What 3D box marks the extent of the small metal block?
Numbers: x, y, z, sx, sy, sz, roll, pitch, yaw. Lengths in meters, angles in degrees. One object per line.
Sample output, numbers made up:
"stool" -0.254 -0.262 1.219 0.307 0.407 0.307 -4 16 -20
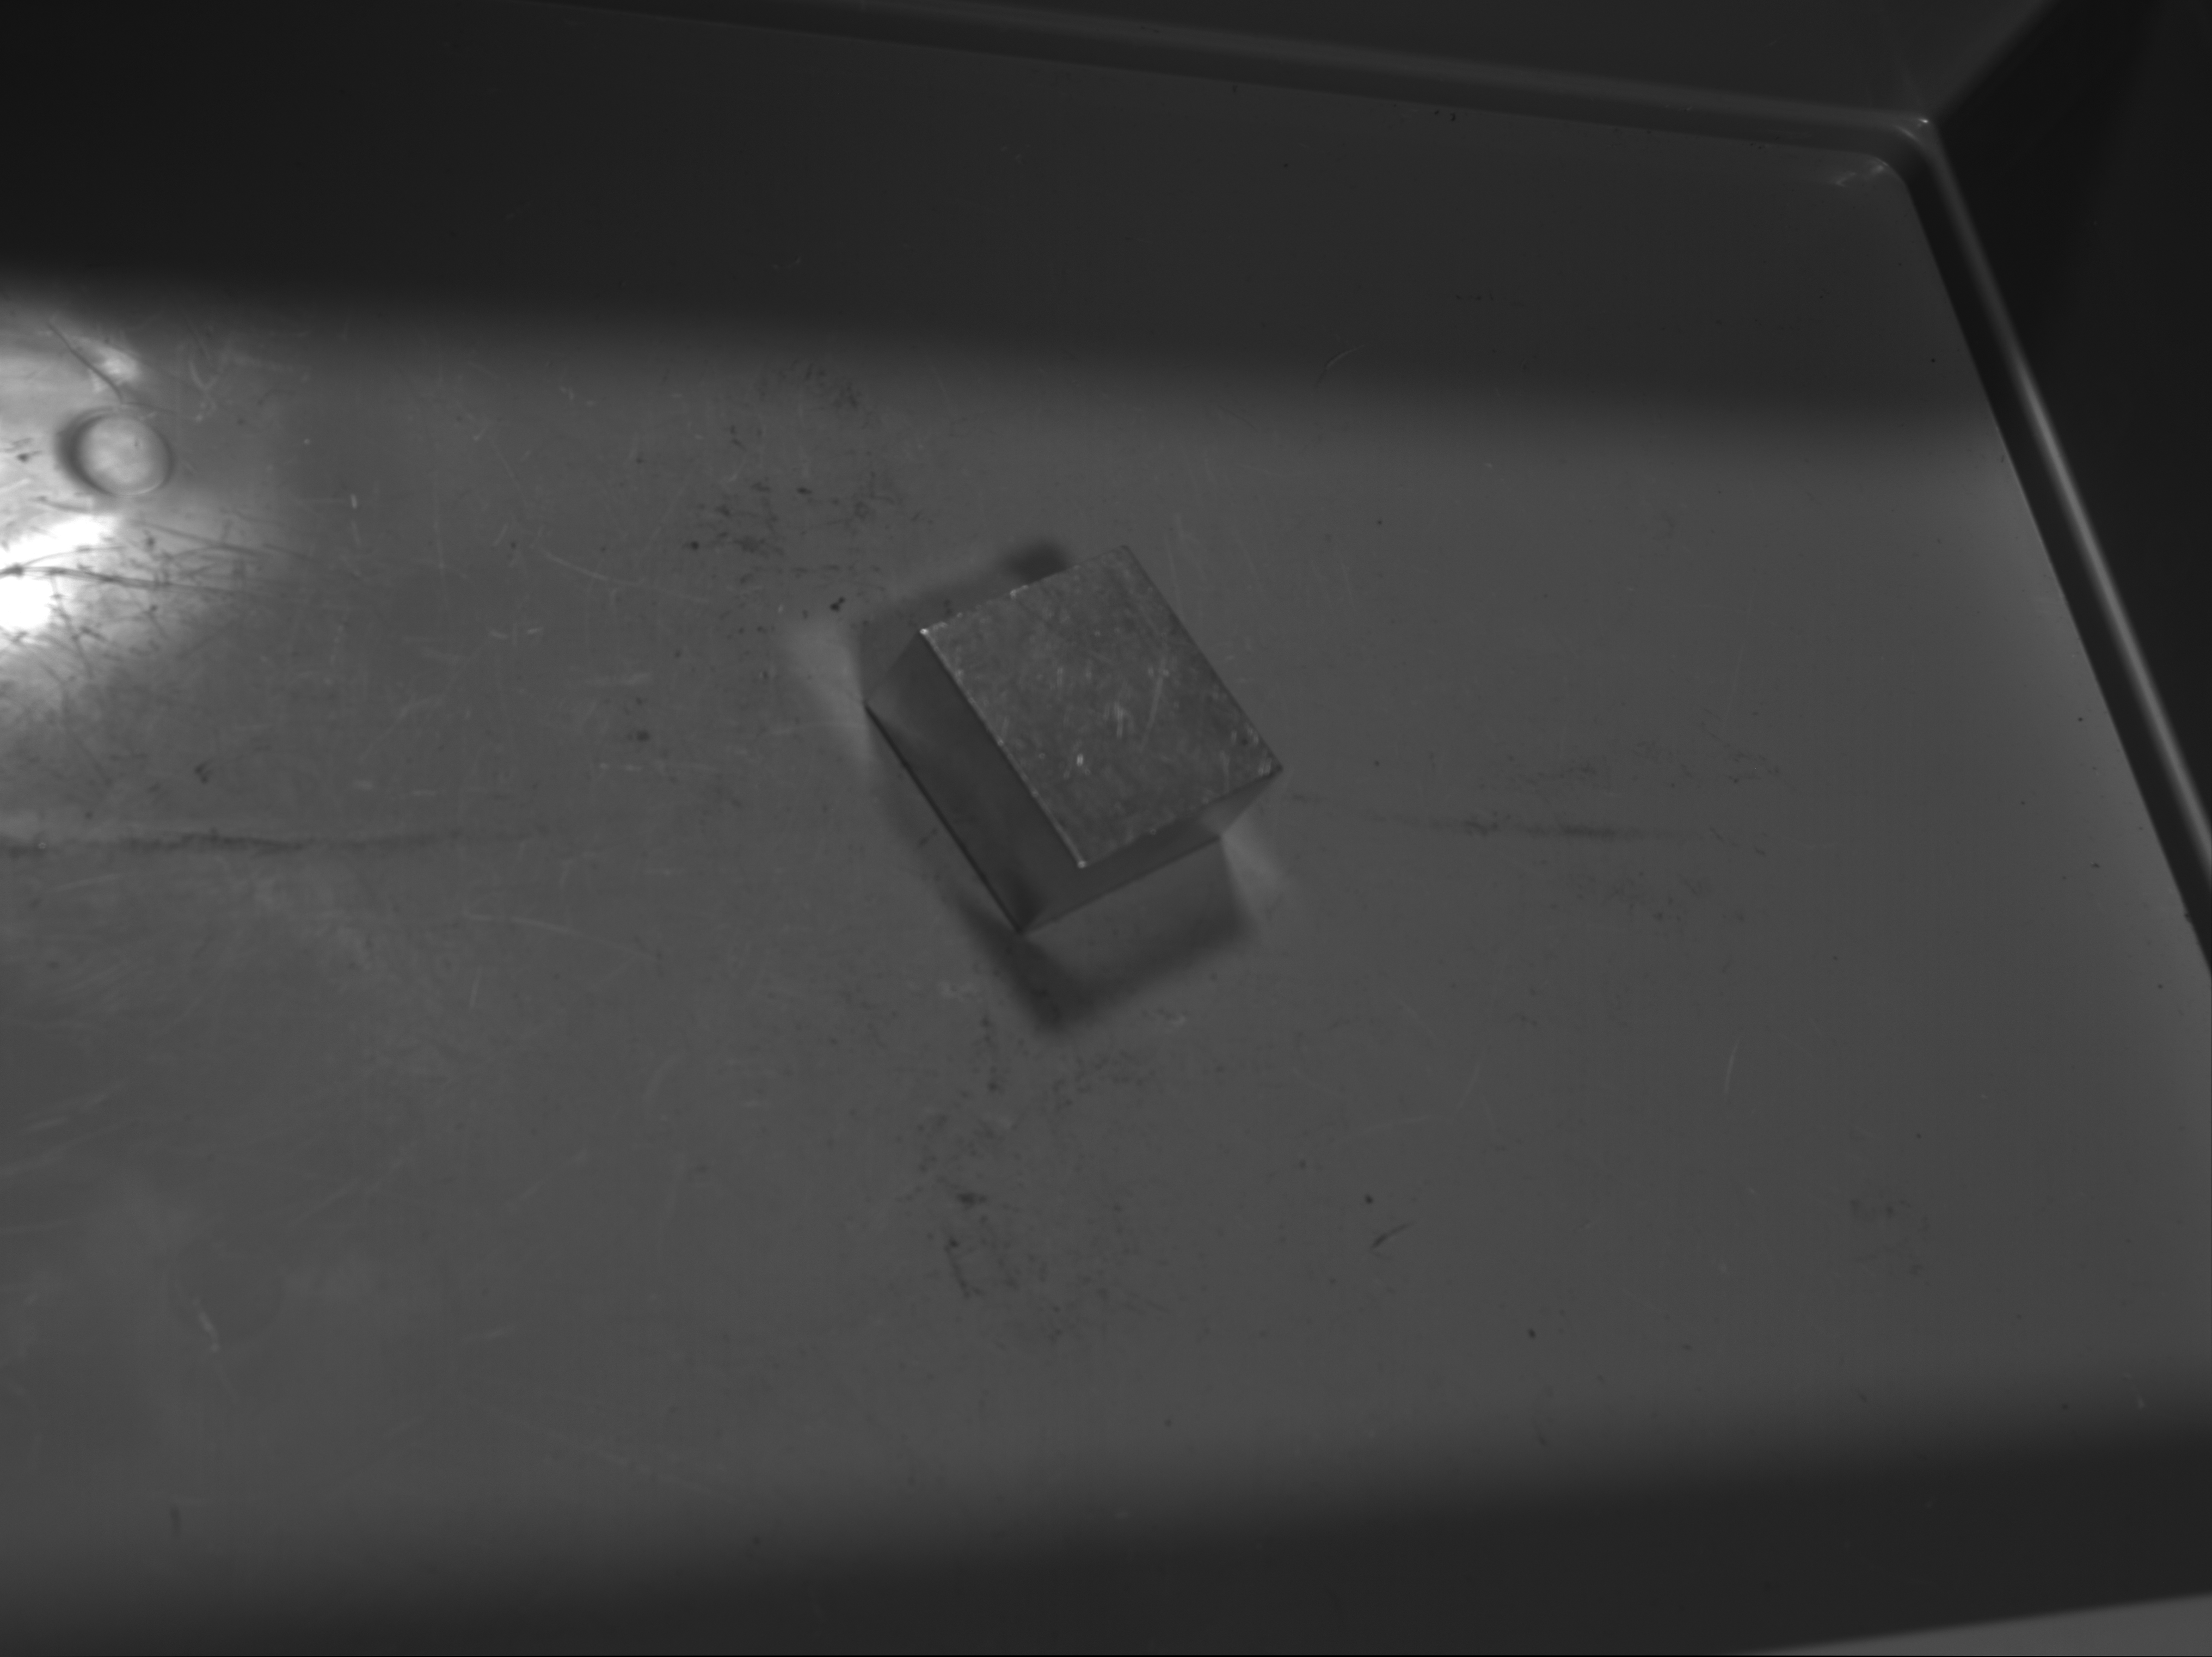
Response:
"small metal block" -0.003 -0.016 0.644 0.050 0.025 0.050 -26 76 -37
